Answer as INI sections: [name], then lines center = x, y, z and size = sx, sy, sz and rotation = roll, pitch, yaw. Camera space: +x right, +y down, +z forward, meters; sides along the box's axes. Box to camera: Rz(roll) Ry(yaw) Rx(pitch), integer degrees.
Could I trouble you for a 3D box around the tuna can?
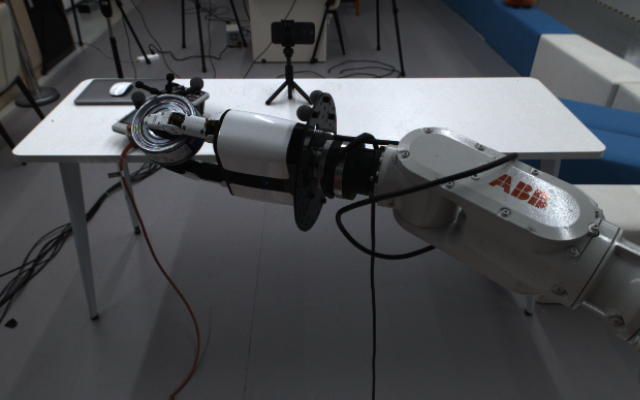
[tuna can]
center = -0.184, -0.082, 0.597
size = 0.085, 0.034, 0.085
rotation = -3, 69, 9
